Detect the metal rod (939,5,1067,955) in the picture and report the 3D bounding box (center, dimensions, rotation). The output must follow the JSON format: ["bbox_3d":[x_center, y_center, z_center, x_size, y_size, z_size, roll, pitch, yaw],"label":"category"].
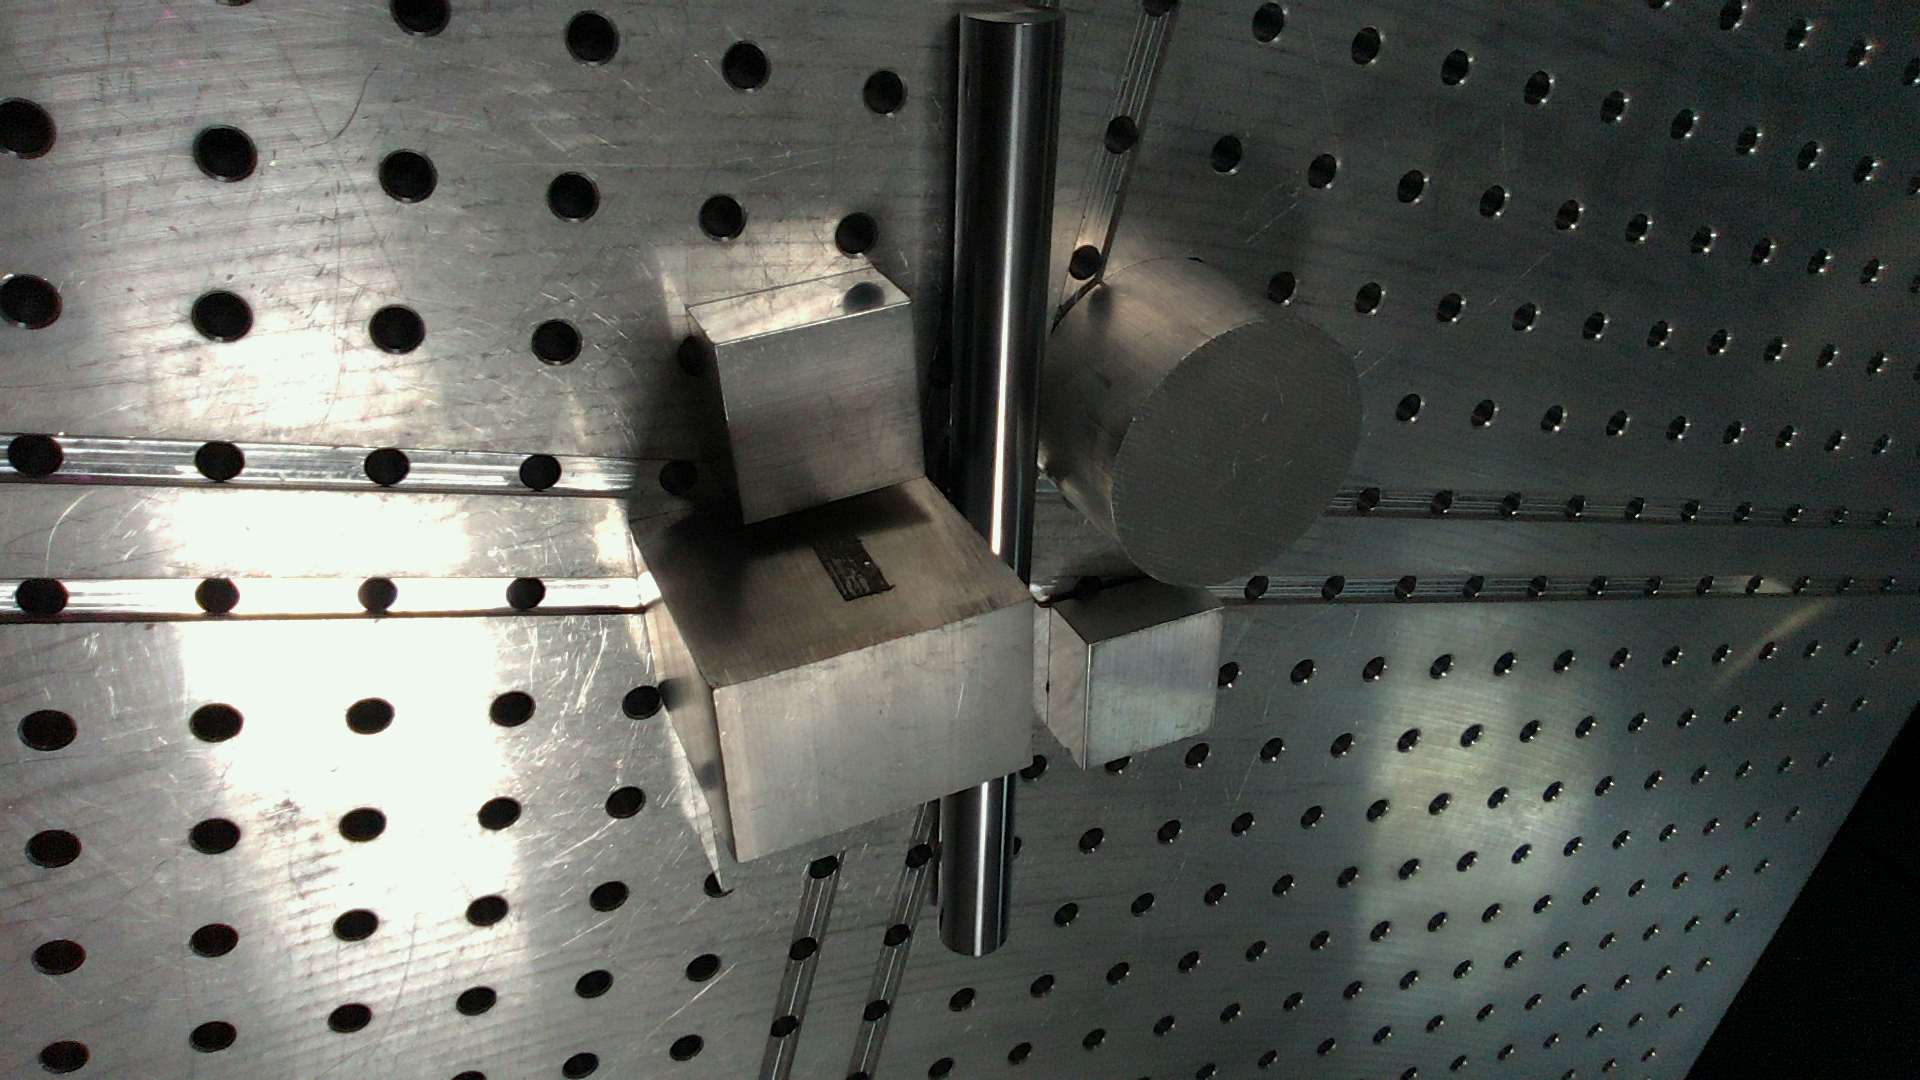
[{"bbox_3d":[0.008,0.005,0.400,0.025,0.025,0.300,-12,123,-22],"label":"metal rod"}]

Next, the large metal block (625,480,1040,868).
[{"bbox_3d":[-0.033,0.027,0.353,0.080,0.080,0.050,-15,124,-20],"label":"large metal block"}]

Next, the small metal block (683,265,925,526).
[{"bbox_3d":[-0.039,-0.037,0.349,0.050,0.025,0.050,-16,125,-19],"label":"small metal block"}]

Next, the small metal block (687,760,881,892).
[{"bbox_3d":[-0.053,0.070,0.406,0.050,0.025,0.050,-15,124,-20],"label":"small metal block"}]

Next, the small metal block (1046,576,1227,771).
[{"bbox_3d":[0.057,0.042,0.448,0.050,0.025,0.050,-14,124,-21],"label":"small metal block"}]

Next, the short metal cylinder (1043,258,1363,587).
[{"bbox_3d":[0.066,-0.034,0.390,0.080,0.050,0.080,-14,124,-21],"label":"short metal cylinder"}]
